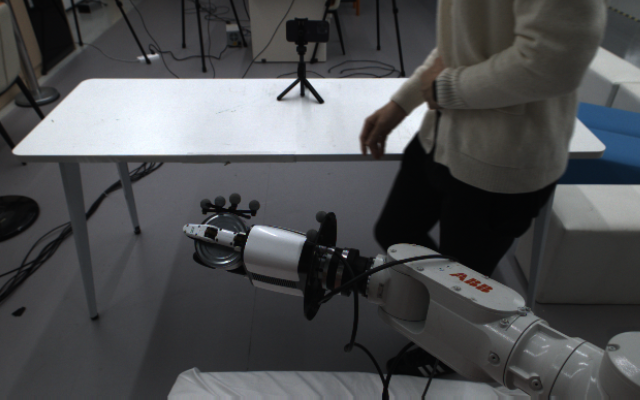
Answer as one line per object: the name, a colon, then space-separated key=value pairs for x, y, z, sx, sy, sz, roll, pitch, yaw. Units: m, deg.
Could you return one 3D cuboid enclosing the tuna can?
tuna can: x=-0.143 y=0.071 z=0.735 sx=0.085 sy=0.034 sz=0.085 roll=-3 pitch=73 yaw=9
